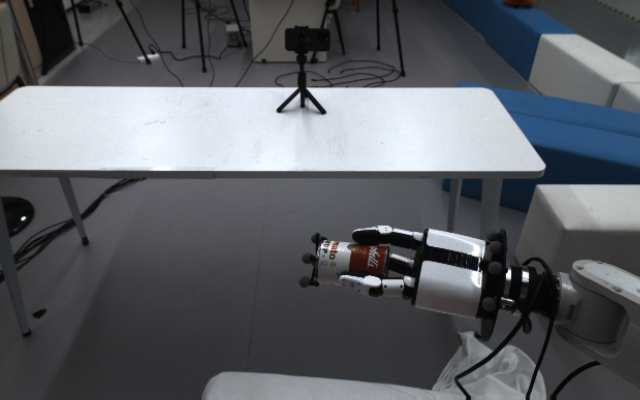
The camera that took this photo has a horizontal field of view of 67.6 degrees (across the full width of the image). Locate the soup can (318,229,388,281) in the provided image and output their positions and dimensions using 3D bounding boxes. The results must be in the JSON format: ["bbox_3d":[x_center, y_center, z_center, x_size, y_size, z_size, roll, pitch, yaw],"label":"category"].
[{"bbox_3d":[0.052,0.098,0.724,0.101,0.067,0.067,5,34,13],"label":"soup can"}]
